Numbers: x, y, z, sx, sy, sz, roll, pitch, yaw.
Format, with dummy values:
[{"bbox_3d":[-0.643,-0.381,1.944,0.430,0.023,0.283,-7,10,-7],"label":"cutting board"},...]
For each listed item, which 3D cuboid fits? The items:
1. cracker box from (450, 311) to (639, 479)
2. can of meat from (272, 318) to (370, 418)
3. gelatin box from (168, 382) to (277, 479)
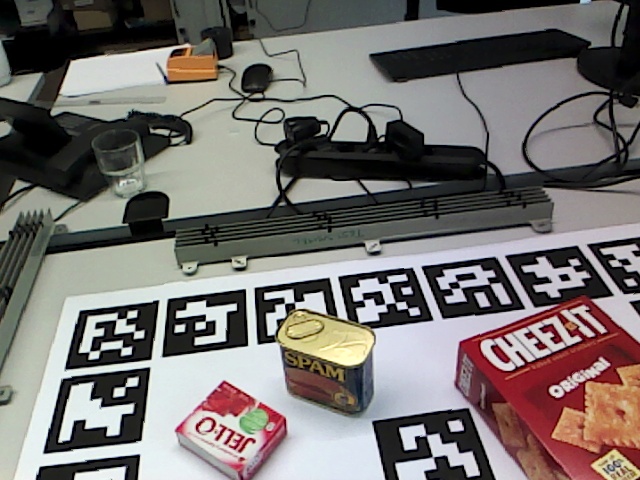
[{"bbox_3d":[0.257,0.175,0.607,0.163,0.072,0.215,-16,35,-17],"label":"cracker box"},{"bbox_3d":[0.004,0.142,0.679,0.102,0.083,0.058,10,37,22],"label":"can of meat"},{"bbox_3d":[-0.101,0.198,0.647,0.090,0.030,0.073,21,40,29],"label":"gelatin box"}]
